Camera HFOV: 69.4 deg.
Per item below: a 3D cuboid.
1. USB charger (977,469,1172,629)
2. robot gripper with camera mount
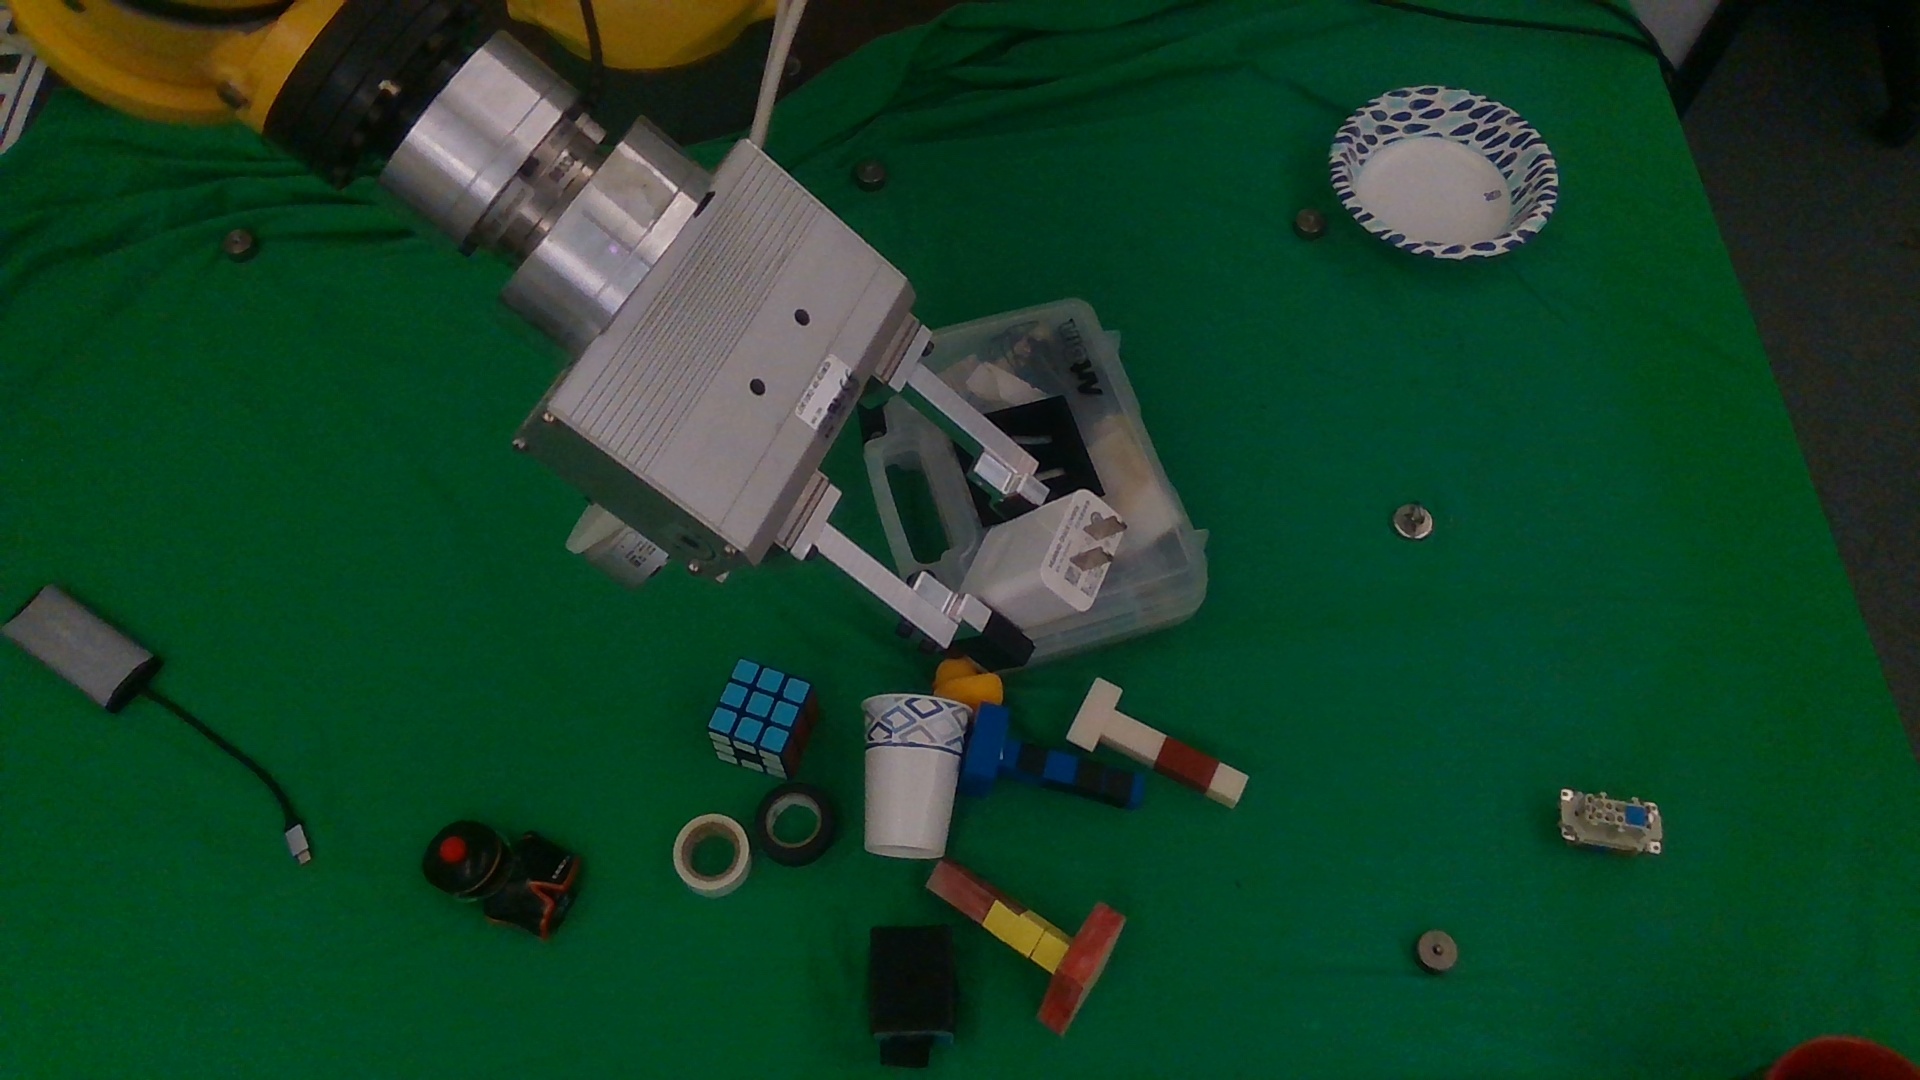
[{"bbox_3d":[0.039,0.001,0.457,0.029,0.076,0.044,41,55,-20],"label":"USB charger"},{"bbox_3d":[-0.075,-0.007,0.506,0.158,0.194,0.119,41,55,-21],"label":"robot gripper with camera mount"}]
